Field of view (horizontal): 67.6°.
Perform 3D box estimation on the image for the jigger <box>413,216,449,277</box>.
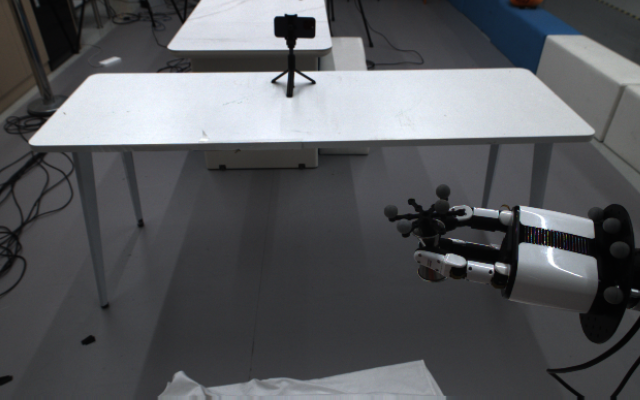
[{"bbox_3d":[0.139,0.061,0.599,0.043,0.071,0.043,-12,29,7],"label":"jigger"}]
